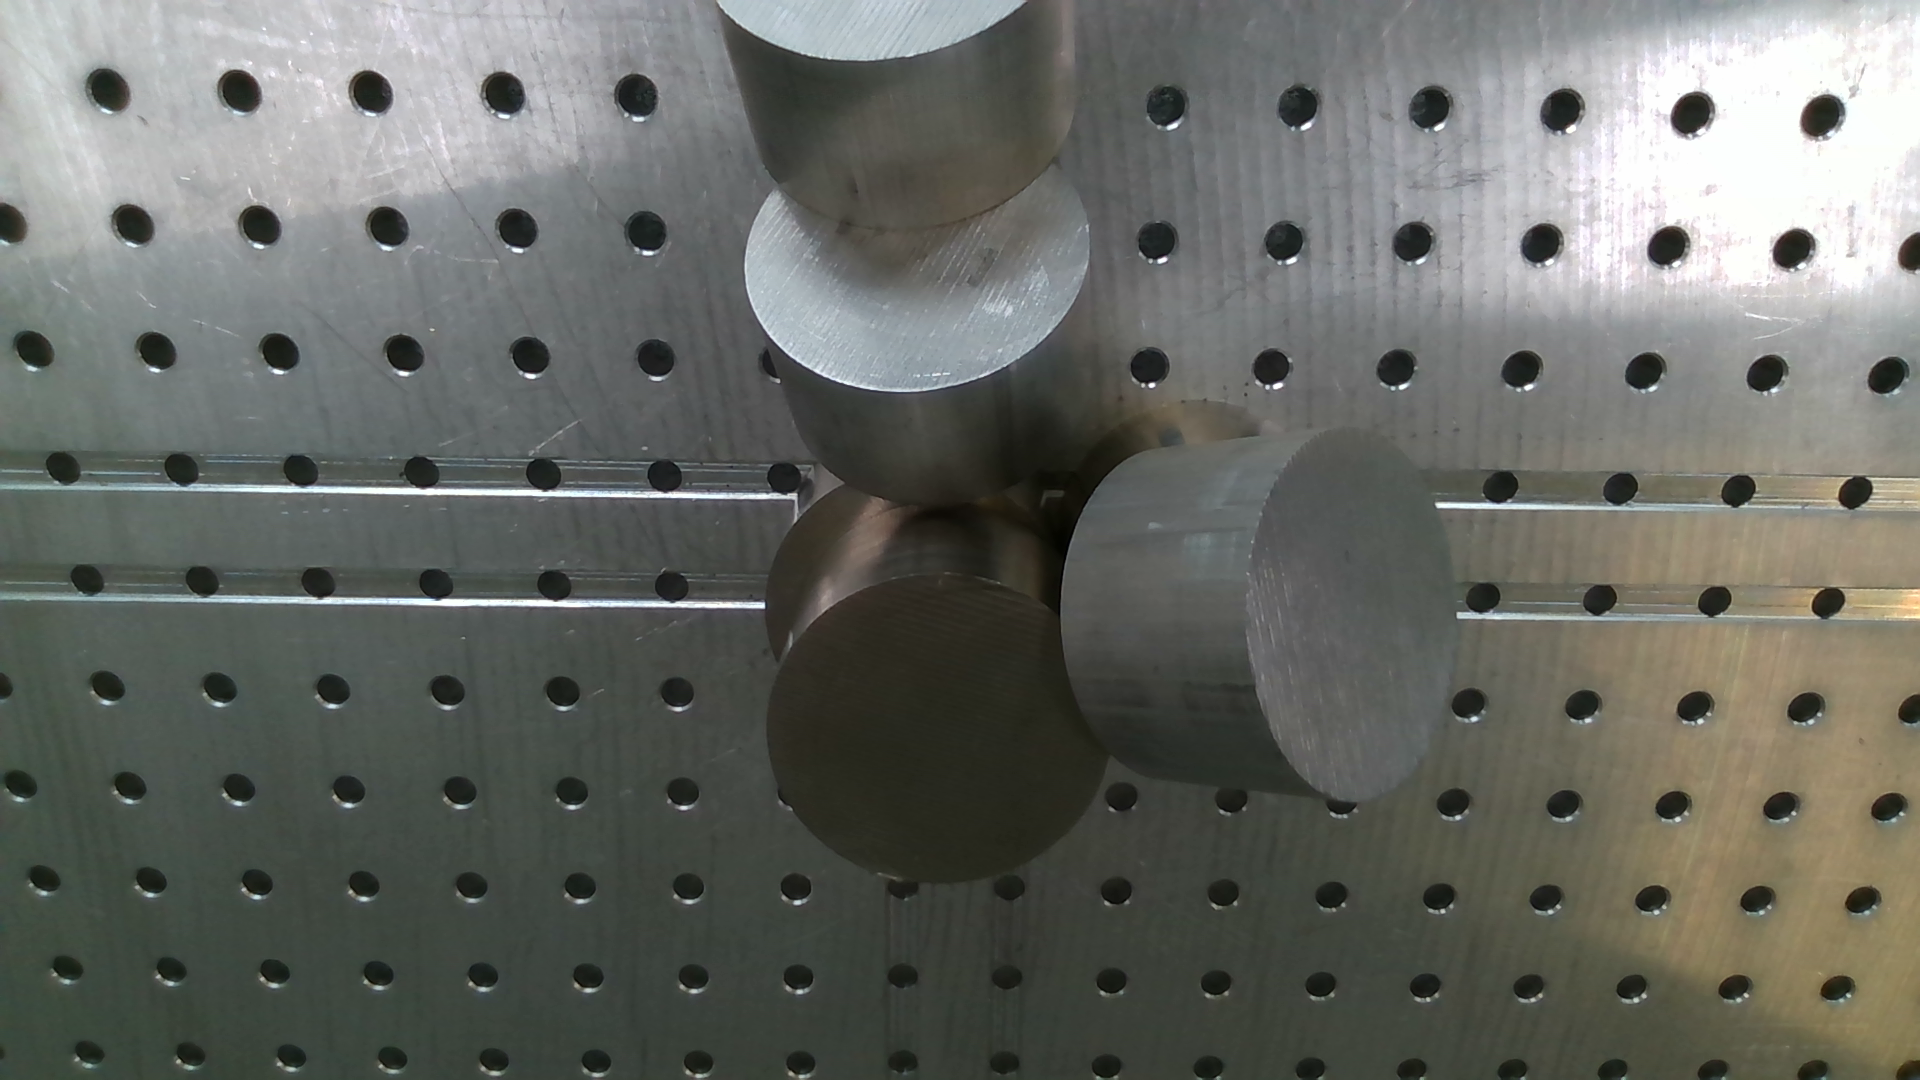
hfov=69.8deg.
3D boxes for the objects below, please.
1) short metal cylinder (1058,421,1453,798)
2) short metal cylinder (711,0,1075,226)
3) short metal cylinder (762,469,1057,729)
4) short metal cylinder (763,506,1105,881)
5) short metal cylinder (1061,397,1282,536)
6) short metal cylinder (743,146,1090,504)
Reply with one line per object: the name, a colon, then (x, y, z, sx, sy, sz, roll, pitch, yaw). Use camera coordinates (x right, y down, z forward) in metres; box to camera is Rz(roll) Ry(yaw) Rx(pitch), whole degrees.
short metal cylinder: (0.068, 0.016, 0.312, 0.050, 0.080, 0.080, -4, 118, 48)
short metal cylinder: (-0.014, -0.120, 0.315, 0.080, 0.080, 0.050, -7, 152, 3)
short metal cylinder: (-0.012, 0.010, 0.385, 0.080, 0.050, 0.080, 0, 110, 0)
short metal cylinder: (-0.005, 0.036, 0.341, 0.080, 0.050, 0.080, 0, 110, 0)
short metal cylinder: (0.069, 0.005, 0.384, 0.080, 0.050, 0.080, 0, 110, 0)
short metal cylinder: (-0.008, -0.056, 0.338, 0.080, 0.080, 0.050, -7, 151, 2)
